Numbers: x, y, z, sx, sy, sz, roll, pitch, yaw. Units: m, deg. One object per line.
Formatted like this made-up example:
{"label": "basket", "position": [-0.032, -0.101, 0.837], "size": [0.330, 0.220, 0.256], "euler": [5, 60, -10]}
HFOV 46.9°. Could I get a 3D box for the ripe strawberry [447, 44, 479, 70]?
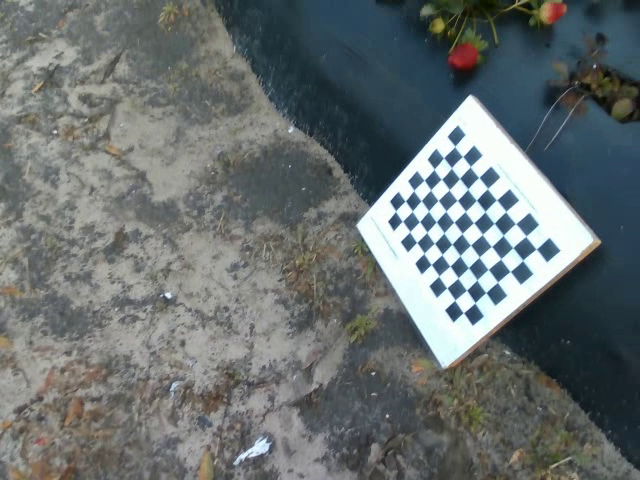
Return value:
{"label": "ripe strawberry", "position": [0.200, -0.264, 1.055], "size": [0.054, 0.042, 0.045], "euler": [-27, 15, -38]}
